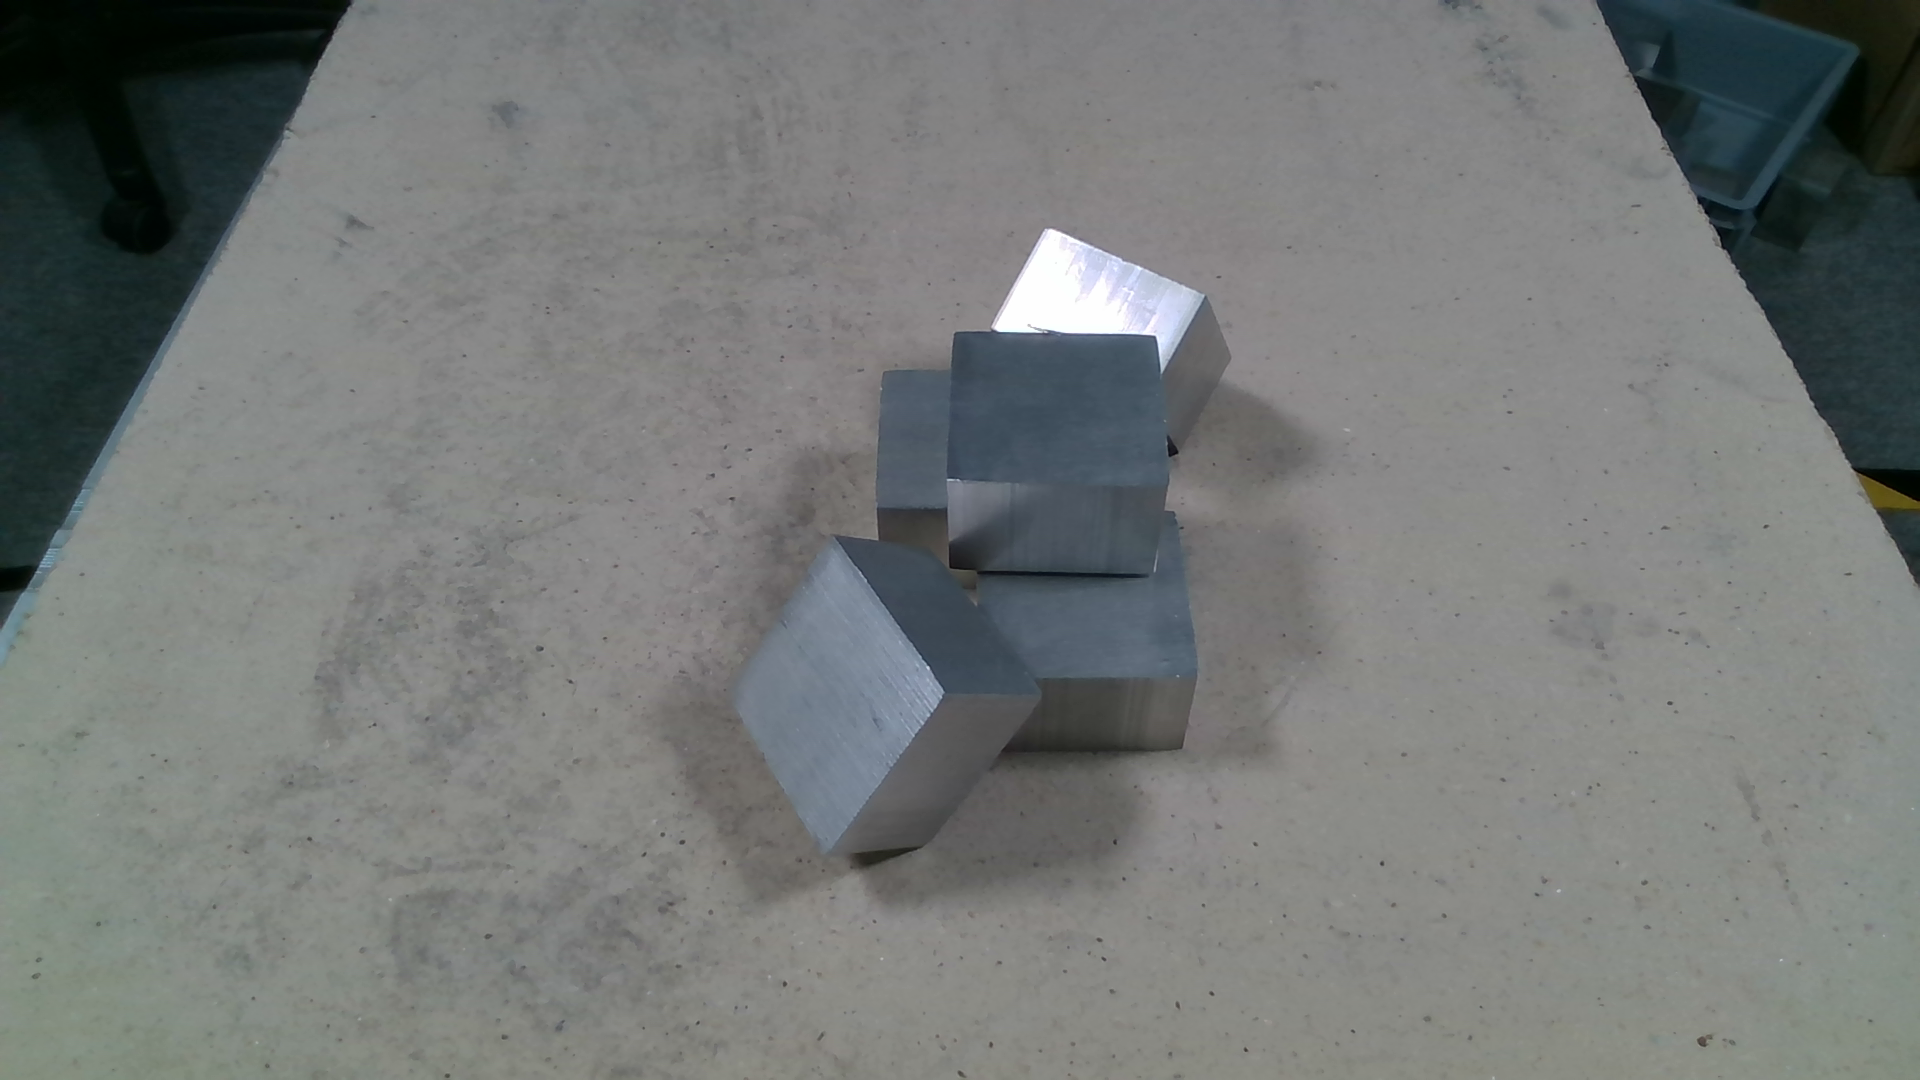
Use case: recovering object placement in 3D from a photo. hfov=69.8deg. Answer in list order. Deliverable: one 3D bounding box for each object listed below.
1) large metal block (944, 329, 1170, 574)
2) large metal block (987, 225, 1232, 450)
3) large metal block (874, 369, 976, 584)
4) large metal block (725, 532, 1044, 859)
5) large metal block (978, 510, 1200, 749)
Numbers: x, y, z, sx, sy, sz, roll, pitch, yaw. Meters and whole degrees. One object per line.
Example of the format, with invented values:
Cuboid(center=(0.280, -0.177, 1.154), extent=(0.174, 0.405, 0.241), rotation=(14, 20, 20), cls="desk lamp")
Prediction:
Cuboid(center=(0.036, -0.035, 0.532), extent=(0.080, 0.050, 0.080), rotation=(1, 50, 1), cls="large metal block")
Cuboid(center=(0.069, -0.088, 0.616), extent=(0.080, 0.080, 0.050), rotation=(29, 89, 22), cls="large metal block")
Cuboid(center=(0.006, -0.028, 0.591), extent=(0.080, 0.050, 0.080), rotation=(0, 50, 0), cls="large metal block")
Cuboid(center=(-0.029, 0.055, 0.497), extent=(0.050, 0.080, 0.080), rotation=(7, 36, -47), cls="large metal block")
Cuboid(center=(0.047, 0.035, 0.543), extent=(0.080, 0.050, 0.080), rotation=(0, 50, 0), cls="large metal block")
